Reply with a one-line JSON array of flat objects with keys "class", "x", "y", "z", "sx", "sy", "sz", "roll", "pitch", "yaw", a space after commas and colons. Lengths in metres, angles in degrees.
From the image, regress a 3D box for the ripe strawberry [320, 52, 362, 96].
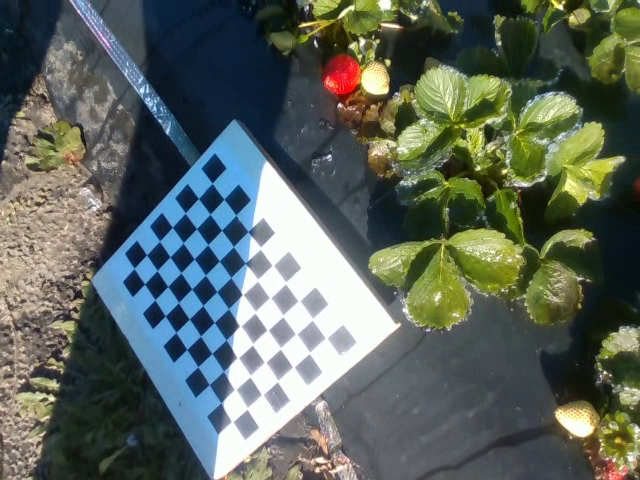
[{"class": "ripe strawberry", "x": 0.014, "y": -0.150, "z": 0.612, "sx": 0.040, "sy": 0.042, "sz": 0.053, "roll": 13, "pitch": 30, "yaw": 22}]
